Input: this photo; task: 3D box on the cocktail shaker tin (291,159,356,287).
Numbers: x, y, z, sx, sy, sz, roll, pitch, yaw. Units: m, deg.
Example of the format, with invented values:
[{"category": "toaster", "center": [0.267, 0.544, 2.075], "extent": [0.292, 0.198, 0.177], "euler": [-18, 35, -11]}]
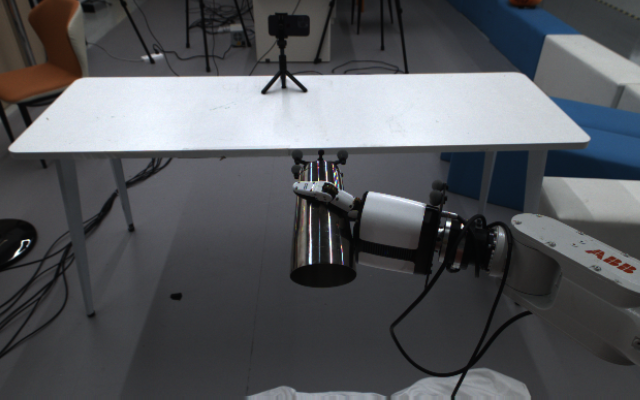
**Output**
[{"category": "cocktail shaker tin", "center": [0.001, 0.030, 0.697], "extent": [0.093, 0.093, 0.170], "euler": [0, 59, -3]}]
